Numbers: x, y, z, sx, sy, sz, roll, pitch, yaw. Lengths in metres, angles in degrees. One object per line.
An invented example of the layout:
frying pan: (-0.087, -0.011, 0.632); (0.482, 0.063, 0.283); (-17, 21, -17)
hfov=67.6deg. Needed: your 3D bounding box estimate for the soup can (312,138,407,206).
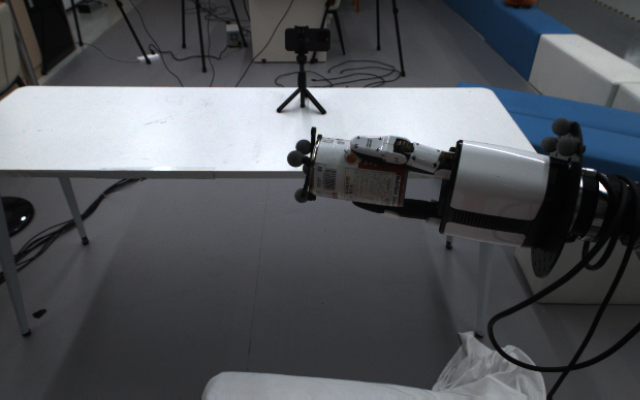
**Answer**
soup can: (0.048, -0.032, 0.534); (0.101, 0.067, 0.067); (8, 35, 9)
